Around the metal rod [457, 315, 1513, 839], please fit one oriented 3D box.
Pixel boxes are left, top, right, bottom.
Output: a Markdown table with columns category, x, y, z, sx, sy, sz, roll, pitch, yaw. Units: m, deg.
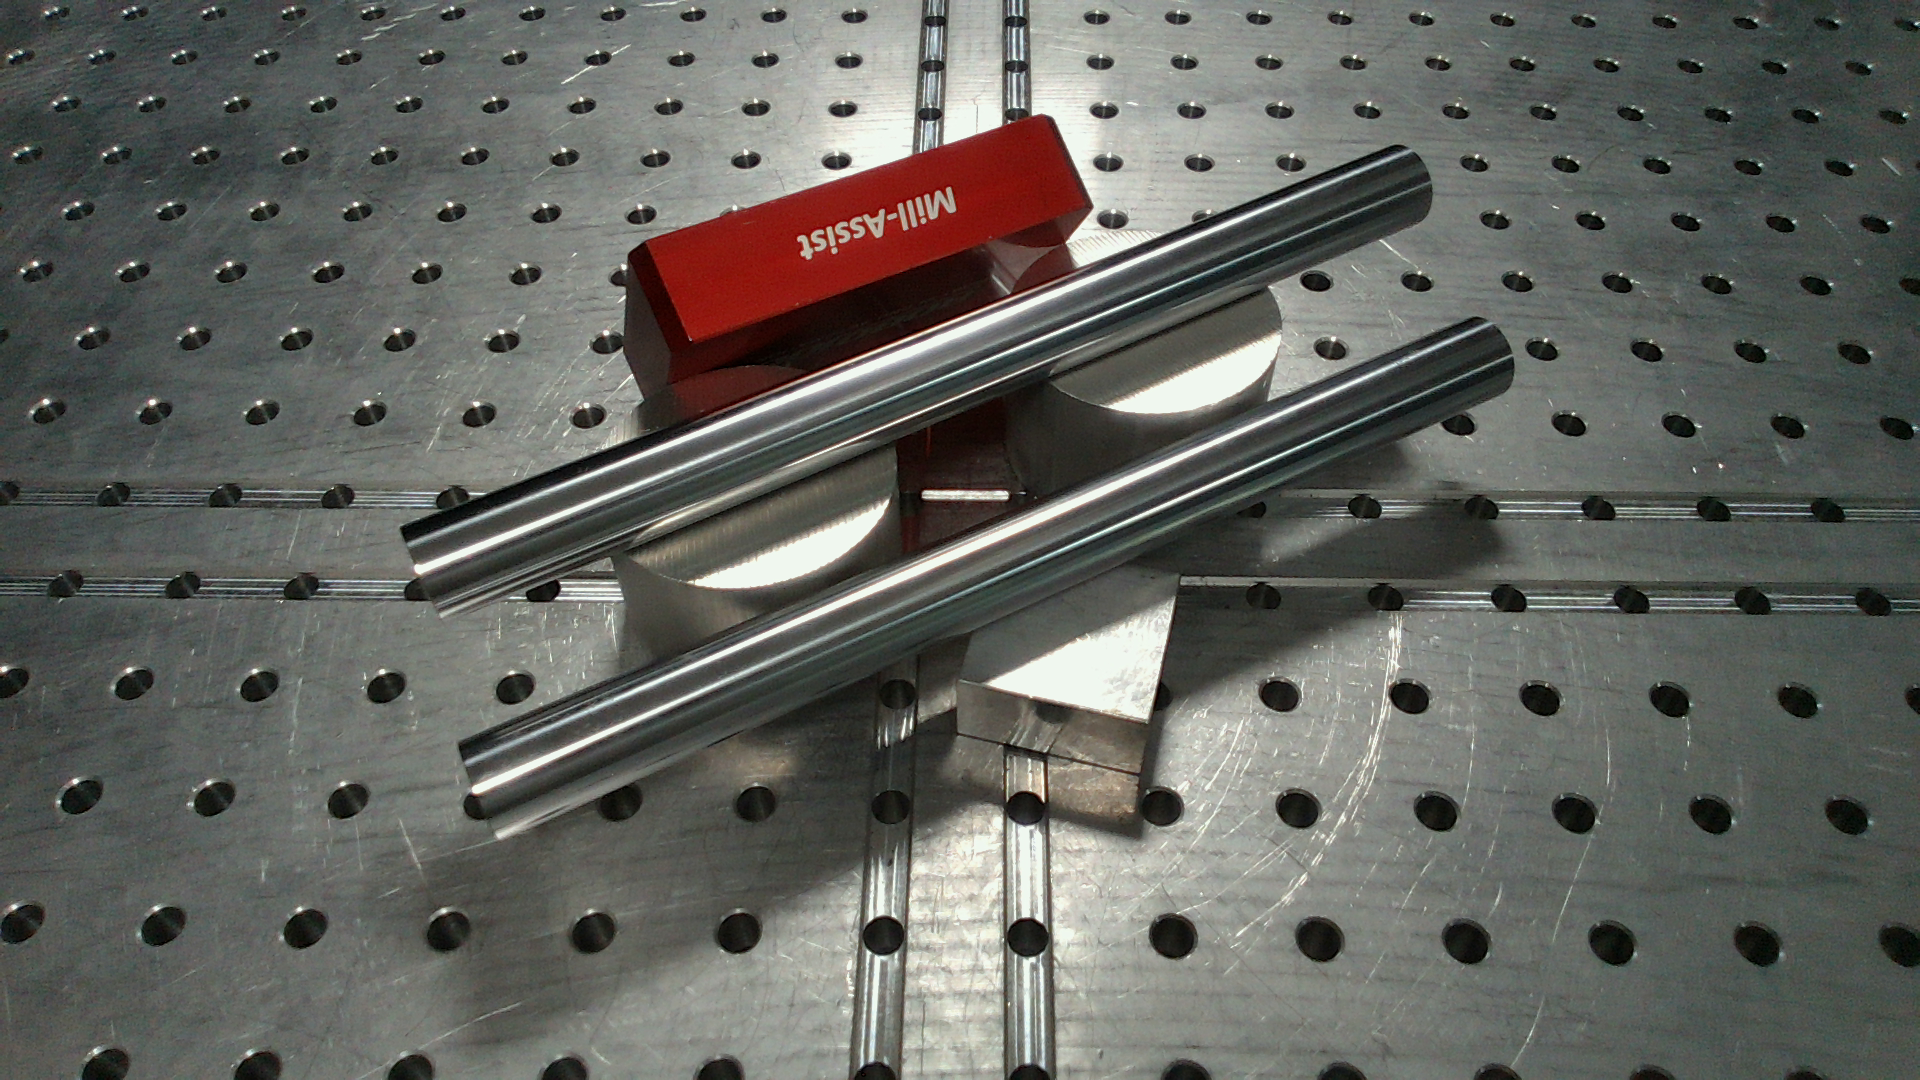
| category | x | y | z | sx | sy | sz | roll | pitch | yaw |
| --- | --- | --- | --- | --- | --- | --- | --- | --- | --- |
| metal rod | 0.022 | 0.001 | 0.360 | 0.301 | 0.025 | 0.025 | -23 | 53 | -18 |

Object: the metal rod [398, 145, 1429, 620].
| category | x | y | z | sx | sy | sz | roll | pitch | yaw |
| --- | --- | --- | --- | --- | --- | --- | --- | --- | --- |
| metal rod | 0.004 | -0.050 | 0.370 | 0.301 | 0.025 | 0.025 | -24 | 54 | -19 |

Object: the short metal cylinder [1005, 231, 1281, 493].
| category | x | y | z | sx | sy | sz | roll | pitch | yaw |
| --- | --- | --- | --- | --- | --- | --- | --- | --- | --- |
| short metal cylinder | 0.053 | -0.049 | 0.420 | 0.080 | 0.050 | 0.080 | 0 | 50 | 0 |

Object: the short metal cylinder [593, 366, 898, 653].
| category | x | y | z | sx | sy | sz | roll | pitch | yaw |
| --- | --- | --- | --- | --- | --- | --- | --- | --- | --- |
| short metal cylinder | -0.057 | -0.002 | 0.380 | 0.080 | 0.050 | 0.080 | 0 | 50 | 0 |

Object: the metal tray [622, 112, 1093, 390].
| category | x | y | z | sx | sy | sz | roll | pitch | yaw |
| --- | --- | --- | --- | --- | --- | --- | --- | --- | --- |
| metal tray | -0.034 | -0.079 | 0.417 | 0.130 | 0.090 | 0.030 | -23 | 85 | -18 |

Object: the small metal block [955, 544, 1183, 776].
| category | x | y | z | sx | sy | sz | roll | pitch | yaw |
| --- | --- | --- | --- | --- | --- | --- | --- | --- | --- |
| small metal block | 0.029 | 0.030 | 0.368 | 0.050 | 0.025 | 0.050 | 11 | 51 | 10 |
